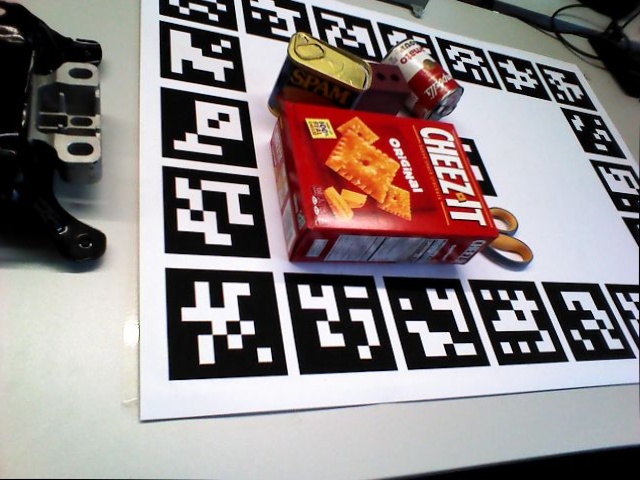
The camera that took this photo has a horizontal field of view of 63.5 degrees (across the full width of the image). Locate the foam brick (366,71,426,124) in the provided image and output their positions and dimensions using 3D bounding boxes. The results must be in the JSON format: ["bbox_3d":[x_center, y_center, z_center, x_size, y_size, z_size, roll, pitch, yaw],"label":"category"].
[{"bbox_3d":[0.086,-0.181,0.668,0.078,0.052,0.052,-6,65,-28],"label":"foam brick"}]

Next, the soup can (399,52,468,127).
[{"bbox_3d":[0.158,-0.200,0.712,0.102,0.068,0.067,44,53,11],"label":"soup can"}]

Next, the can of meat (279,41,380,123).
[{"bbox_3d":[0.011,-0.168,0.600,0.102,0.084,0.057,17,56,-16],"label":"can of meat"}]

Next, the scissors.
[{"bbox_3d":[0.180,0.008,0.605,0.202,0.016,0.087,-1,62,-25],"label":"scissors"}]

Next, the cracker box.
[{"bbox_3d":[0.081,-0.045,0.551,0.213,0.072,0.163,-3,62,-22],"label":"cracker box"}]
